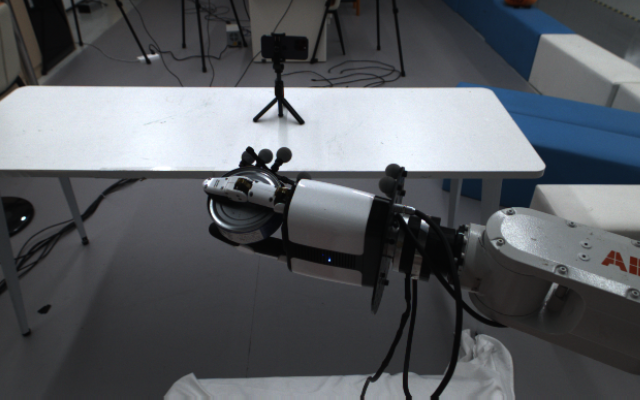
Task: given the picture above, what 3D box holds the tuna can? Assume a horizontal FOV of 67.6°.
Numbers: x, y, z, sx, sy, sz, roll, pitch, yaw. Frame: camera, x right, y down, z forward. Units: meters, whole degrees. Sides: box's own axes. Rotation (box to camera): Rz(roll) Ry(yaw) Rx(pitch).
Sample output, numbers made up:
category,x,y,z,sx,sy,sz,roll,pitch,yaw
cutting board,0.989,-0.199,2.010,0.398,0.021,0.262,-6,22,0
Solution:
category,x,y,z,sx,sy,sz,roll,pitch,yaw
tuna can,-0.081,0.005,0.551,0.085,0.034,0.085,-4,56,6
